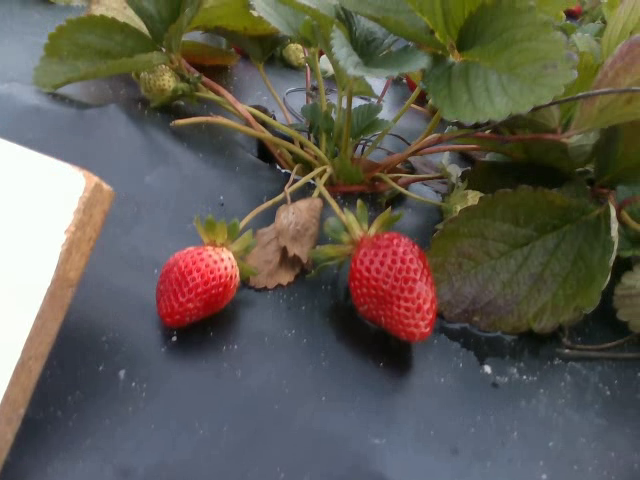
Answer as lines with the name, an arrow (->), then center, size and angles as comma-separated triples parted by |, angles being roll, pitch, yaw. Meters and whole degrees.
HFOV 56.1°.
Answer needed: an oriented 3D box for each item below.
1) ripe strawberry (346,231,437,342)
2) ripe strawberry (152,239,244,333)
ripe strawberry -> 0.031, 0.018, 0.245 | 0.044, 0.059, 0.042 | -30, -33, 7
ripe strawberry -> -0.049, 0.016, 0.235 | 0.036, 0.041, 0.028 | 17, -28, 14
